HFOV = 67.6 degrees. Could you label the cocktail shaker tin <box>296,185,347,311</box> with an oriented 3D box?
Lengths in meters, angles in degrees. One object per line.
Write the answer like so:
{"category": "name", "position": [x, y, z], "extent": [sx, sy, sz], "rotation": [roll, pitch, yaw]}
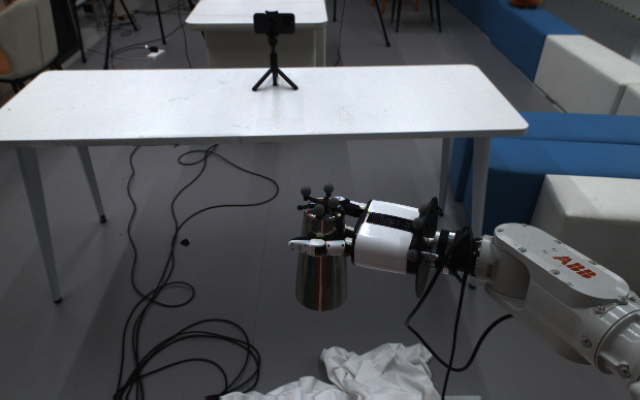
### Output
{"category": "cocktail shaker tin", "position": [0.007, 0.087, 0.818], "extent": [0.093, 0.170, 0.093], "rotation": [1, 27, -1]}
